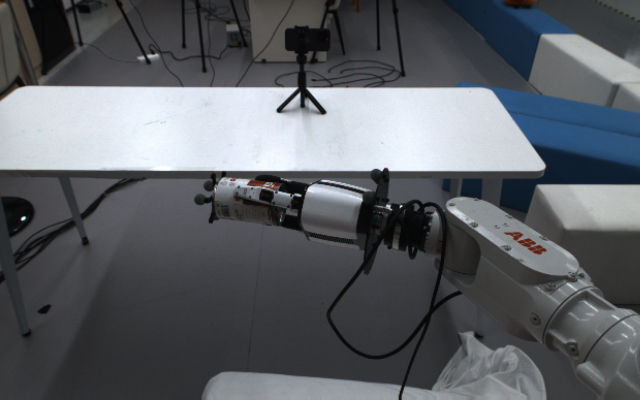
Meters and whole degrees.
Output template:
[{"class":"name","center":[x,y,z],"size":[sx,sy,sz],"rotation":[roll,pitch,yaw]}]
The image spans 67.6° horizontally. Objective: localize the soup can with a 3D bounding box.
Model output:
[{"class":"soup can","center":[-0.107,0.003,0.754],"size":[0.101,0.067,0.067],"rotation":[6,35,11]}]
